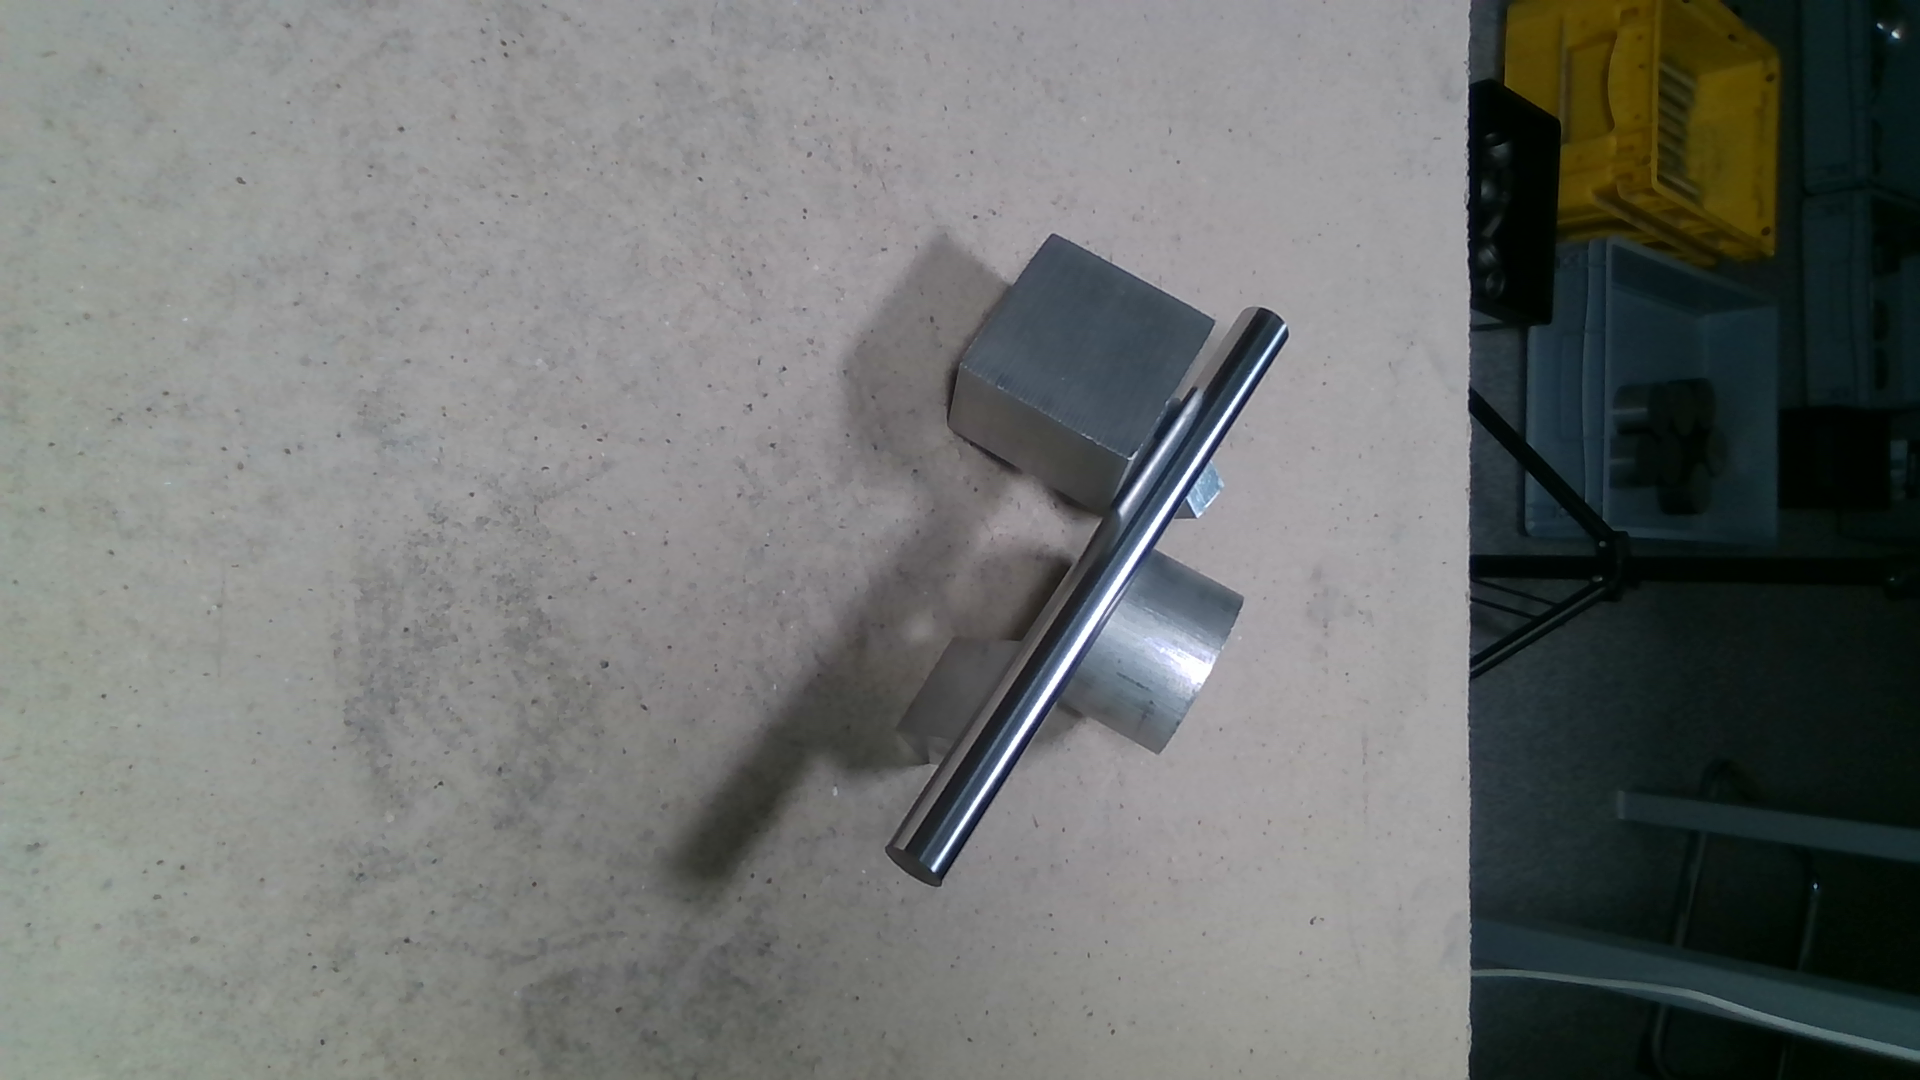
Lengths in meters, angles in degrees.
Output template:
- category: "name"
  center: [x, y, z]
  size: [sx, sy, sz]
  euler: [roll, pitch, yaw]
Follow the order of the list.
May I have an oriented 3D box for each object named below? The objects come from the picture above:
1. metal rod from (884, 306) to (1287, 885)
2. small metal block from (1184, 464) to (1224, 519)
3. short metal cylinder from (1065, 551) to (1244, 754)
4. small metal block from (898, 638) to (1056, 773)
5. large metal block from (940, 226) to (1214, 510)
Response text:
- category: "metal rod"
  center: [0.061, 0.010, 0.570]
  size: [0.025, 0.025, 0.299]
  euler: [51, 60, -28]
- category: "small metal block"
  center: [0.087, -0.037, 0.641]
  size: [0.025, 0.050, 0.050]
  euler: [-47, 118, -30]
- category: "short metal cylinder"
  center: [0.084, 0.048, 0.610]
  size: [0.050, 0.080, 0.080]
  euler: [28, 66, 7]
- category: "small metal block"
  center: [0.010, 0.069, 0.572]
  size: [0.025, 0.050, 0.050]
  euler: [48, 61, -29]
- category: "large metal block"
  center: [0.049, -0.073, 0.585]
  size: [0.080, 0.050, 0.080]
  euler: [30, 65, 7]
